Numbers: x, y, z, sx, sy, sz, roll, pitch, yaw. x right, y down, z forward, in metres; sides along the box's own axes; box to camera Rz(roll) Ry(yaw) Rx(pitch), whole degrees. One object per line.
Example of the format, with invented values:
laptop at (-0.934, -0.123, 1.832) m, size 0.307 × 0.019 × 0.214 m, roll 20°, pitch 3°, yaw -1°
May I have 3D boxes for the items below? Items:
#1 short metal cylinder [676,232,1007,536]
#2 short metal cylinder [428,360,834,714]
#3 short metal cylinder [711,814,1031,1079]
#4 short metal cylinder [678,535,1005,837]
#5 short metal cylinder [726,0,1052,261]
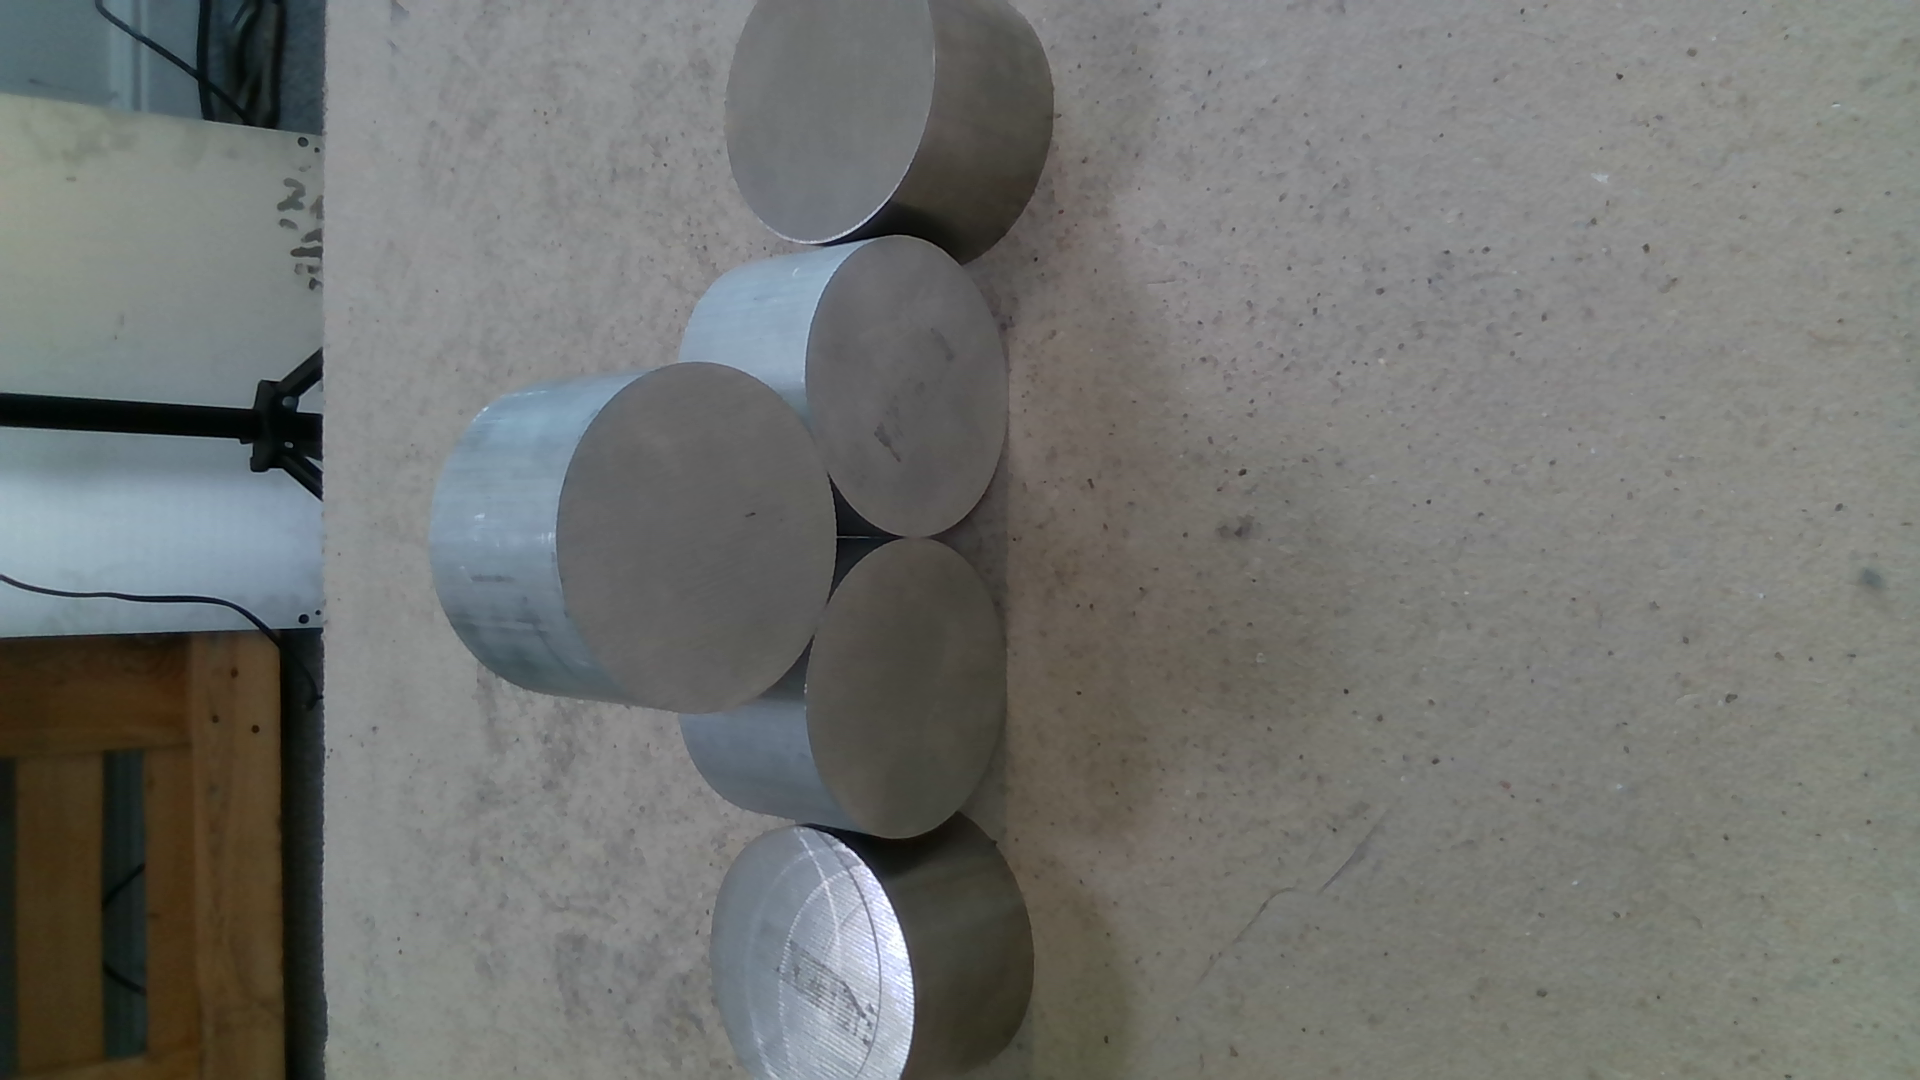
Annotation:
short metal cylinder at (-0.032, -0.041, 0.381) m, size 0.050 × 0.080 × 0.080 m, roll 0°, pitch 91°, yaw 40°
short metal cylinder at (-0.077, -0.001, 0.329) m, size 0.050 × 0.080 × 0.080 m, roll 1°, pitch 91°, yaw 41°
short metal cylinder at (-0.027, 0.119, 0.398) m, size 0.080 × 0.050 × 0.080 m, roll 1°, pitch 91°, yaw 41°
short metal cylinder at (-0.032, 0.039, 0.383) m, size 0.050 × 0.080 × 0.080 m, roll 0°, pitch 91°, yaw 39°
short metal cylinder at (-0.021, -0.121, 0.391) m, size 0.080 × 0.050 × 0.080 m, roll 1°, pitch 91°, yaw 40°
